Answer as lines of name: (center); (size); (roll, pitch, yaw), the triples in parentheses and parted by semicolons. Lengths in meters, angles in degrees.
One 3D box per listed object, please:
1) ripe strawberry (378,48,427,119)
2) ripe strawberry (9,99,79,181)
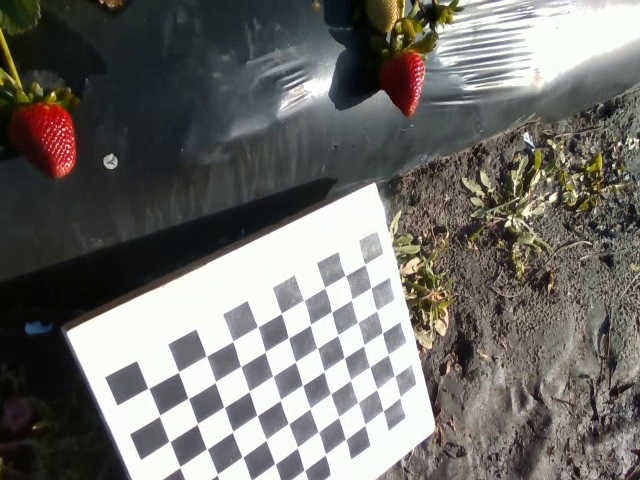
ripe strawberry: (0.065, -0.122, 0.505); (0.042, 0.059, 0.042); (-2, -4, -40)
ripe strawberry: (-0.164, -0.058, 0.386); (0.045, 0.055, 0.041); (-20, -13, -37)
